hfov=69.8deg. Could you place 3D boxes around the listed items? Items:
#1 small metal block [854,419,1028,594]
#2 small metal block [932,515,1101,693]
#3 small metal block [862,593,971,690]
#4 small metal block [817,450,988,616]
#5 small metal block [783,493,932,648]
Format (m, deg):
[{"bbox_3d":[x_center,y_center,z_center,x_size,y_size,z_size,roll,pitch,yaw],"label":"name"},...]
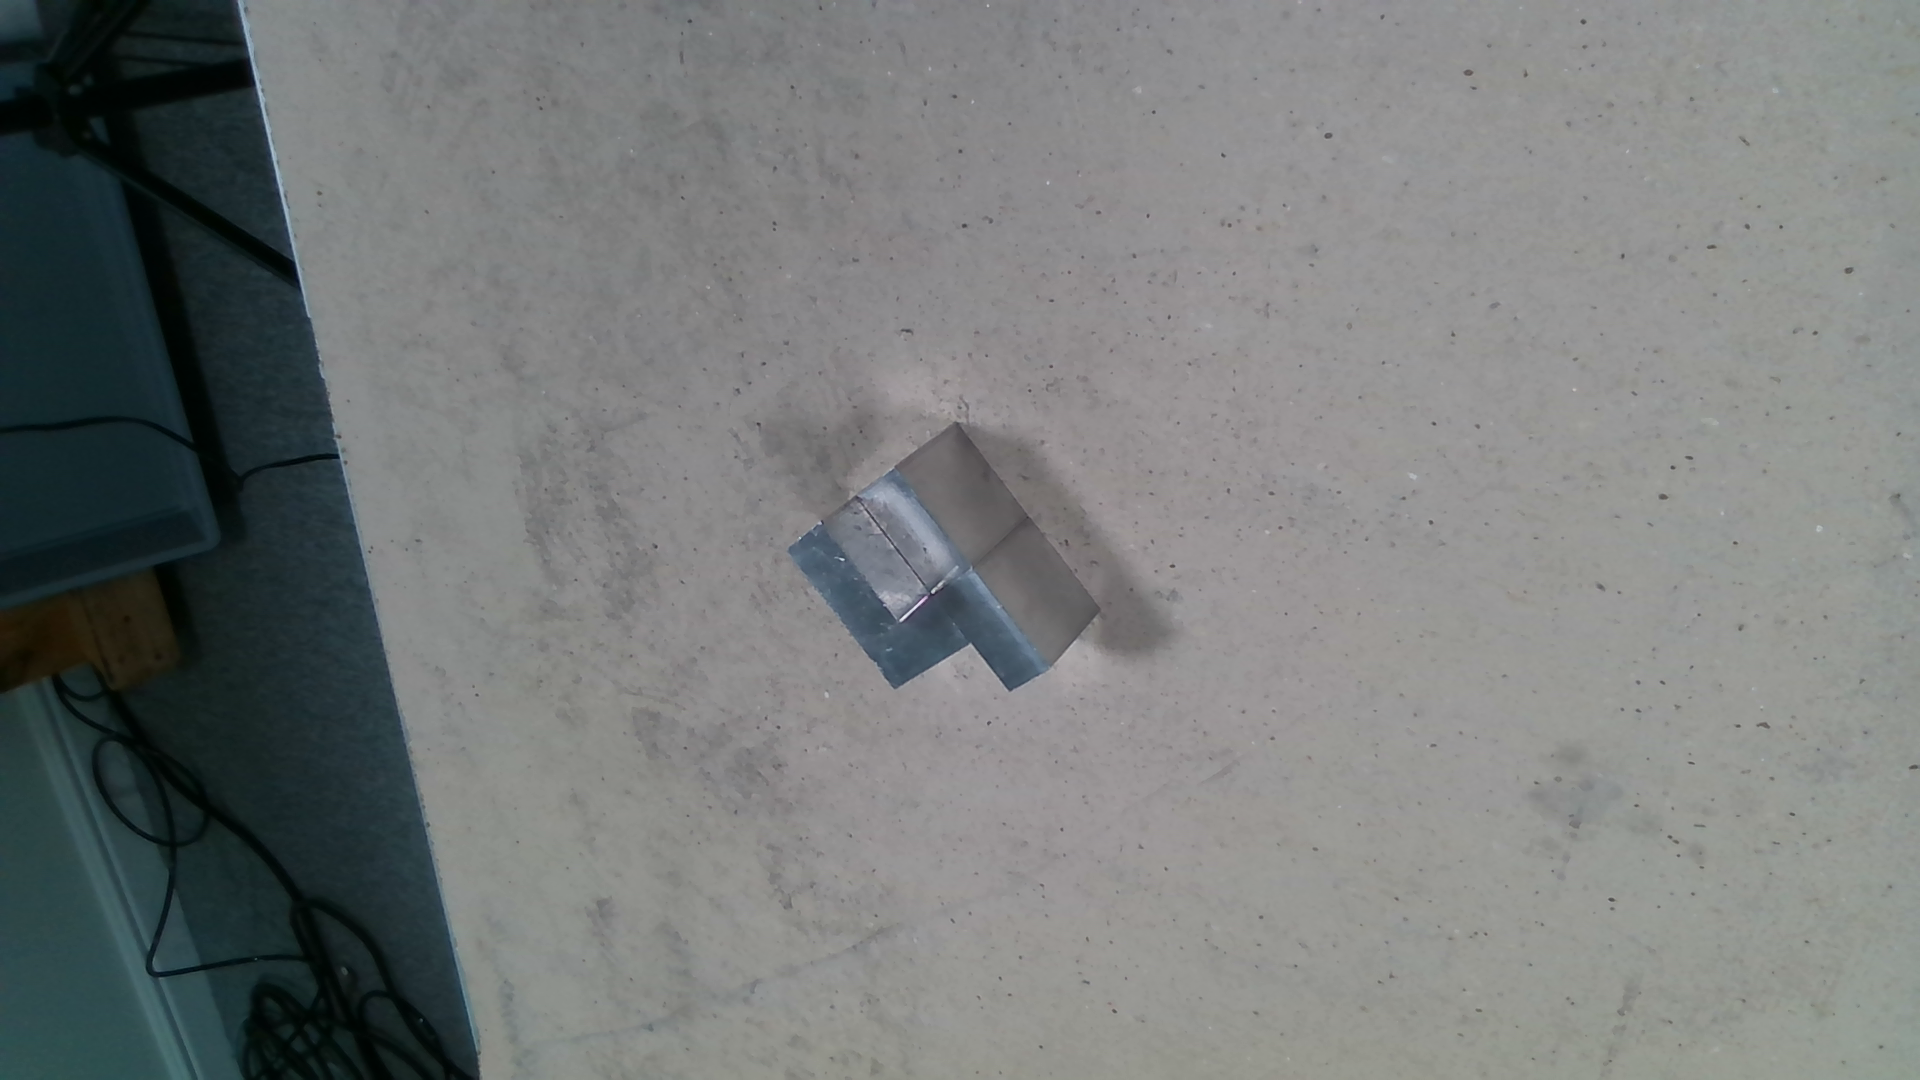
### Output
[{"bbox_3d":[-0.007,-0.014,0.560,0.025,0.050,0.050,-35,94,39],"label":"small metal block"},{"bbox_3d":[0.024,0.025,0.563,0.025,0.050,0.050,-35,94,39],"label":"small metal block"},{"bbox_3d":[-0.008,0.032,0.586,0.050,0.050,0.025,-34,95,39],"label":"small metal block"},{"bbox_3d":[-0.025,-0.003,0.594,0.050,0.025,0.050,-34,95,39],"label":"small metal block"},{"bbox_3d":[-0.035,0.007,0.557,0.025,0.050,0.050,-35,94,39],"label":"small metal block"}]
